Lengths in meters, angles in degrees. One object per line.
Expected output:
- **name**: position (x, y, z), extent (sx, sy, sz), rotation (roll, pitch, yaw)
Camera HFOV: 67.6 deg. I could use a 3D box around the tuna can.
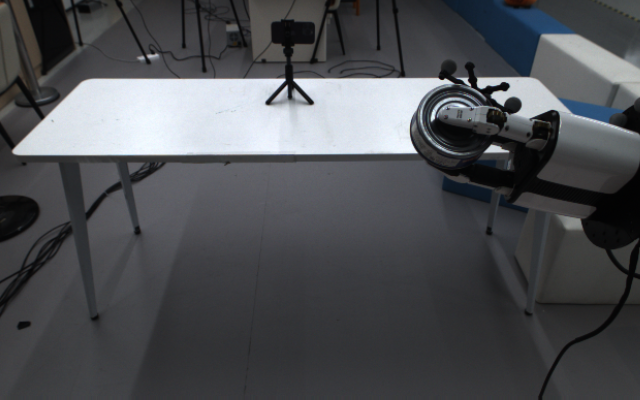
- **tuna can**: position (0.143, -0.080, 0.513), extent (0.085, 0.034, 0.085), rotation (0, 74, -1)
